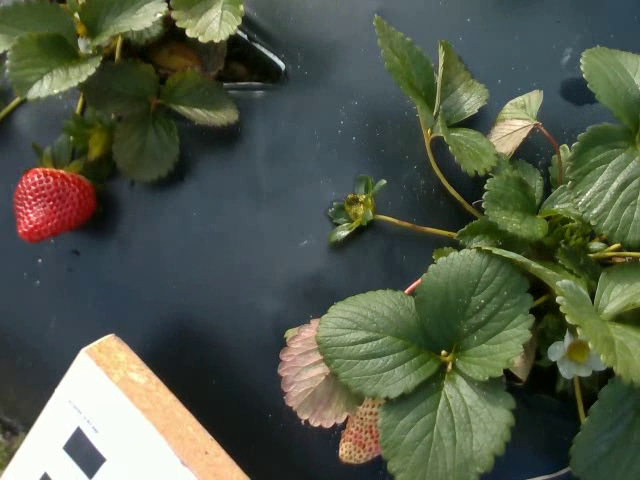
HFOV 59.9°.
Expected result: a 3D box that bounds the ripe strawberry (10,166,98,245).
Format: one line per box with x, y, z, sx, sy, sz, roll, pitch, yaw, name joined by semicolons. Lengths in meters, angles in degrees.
-0.106;-0.011;0.209;0.033;0.039;0.037;40;-46;-13;ripe strawberry
